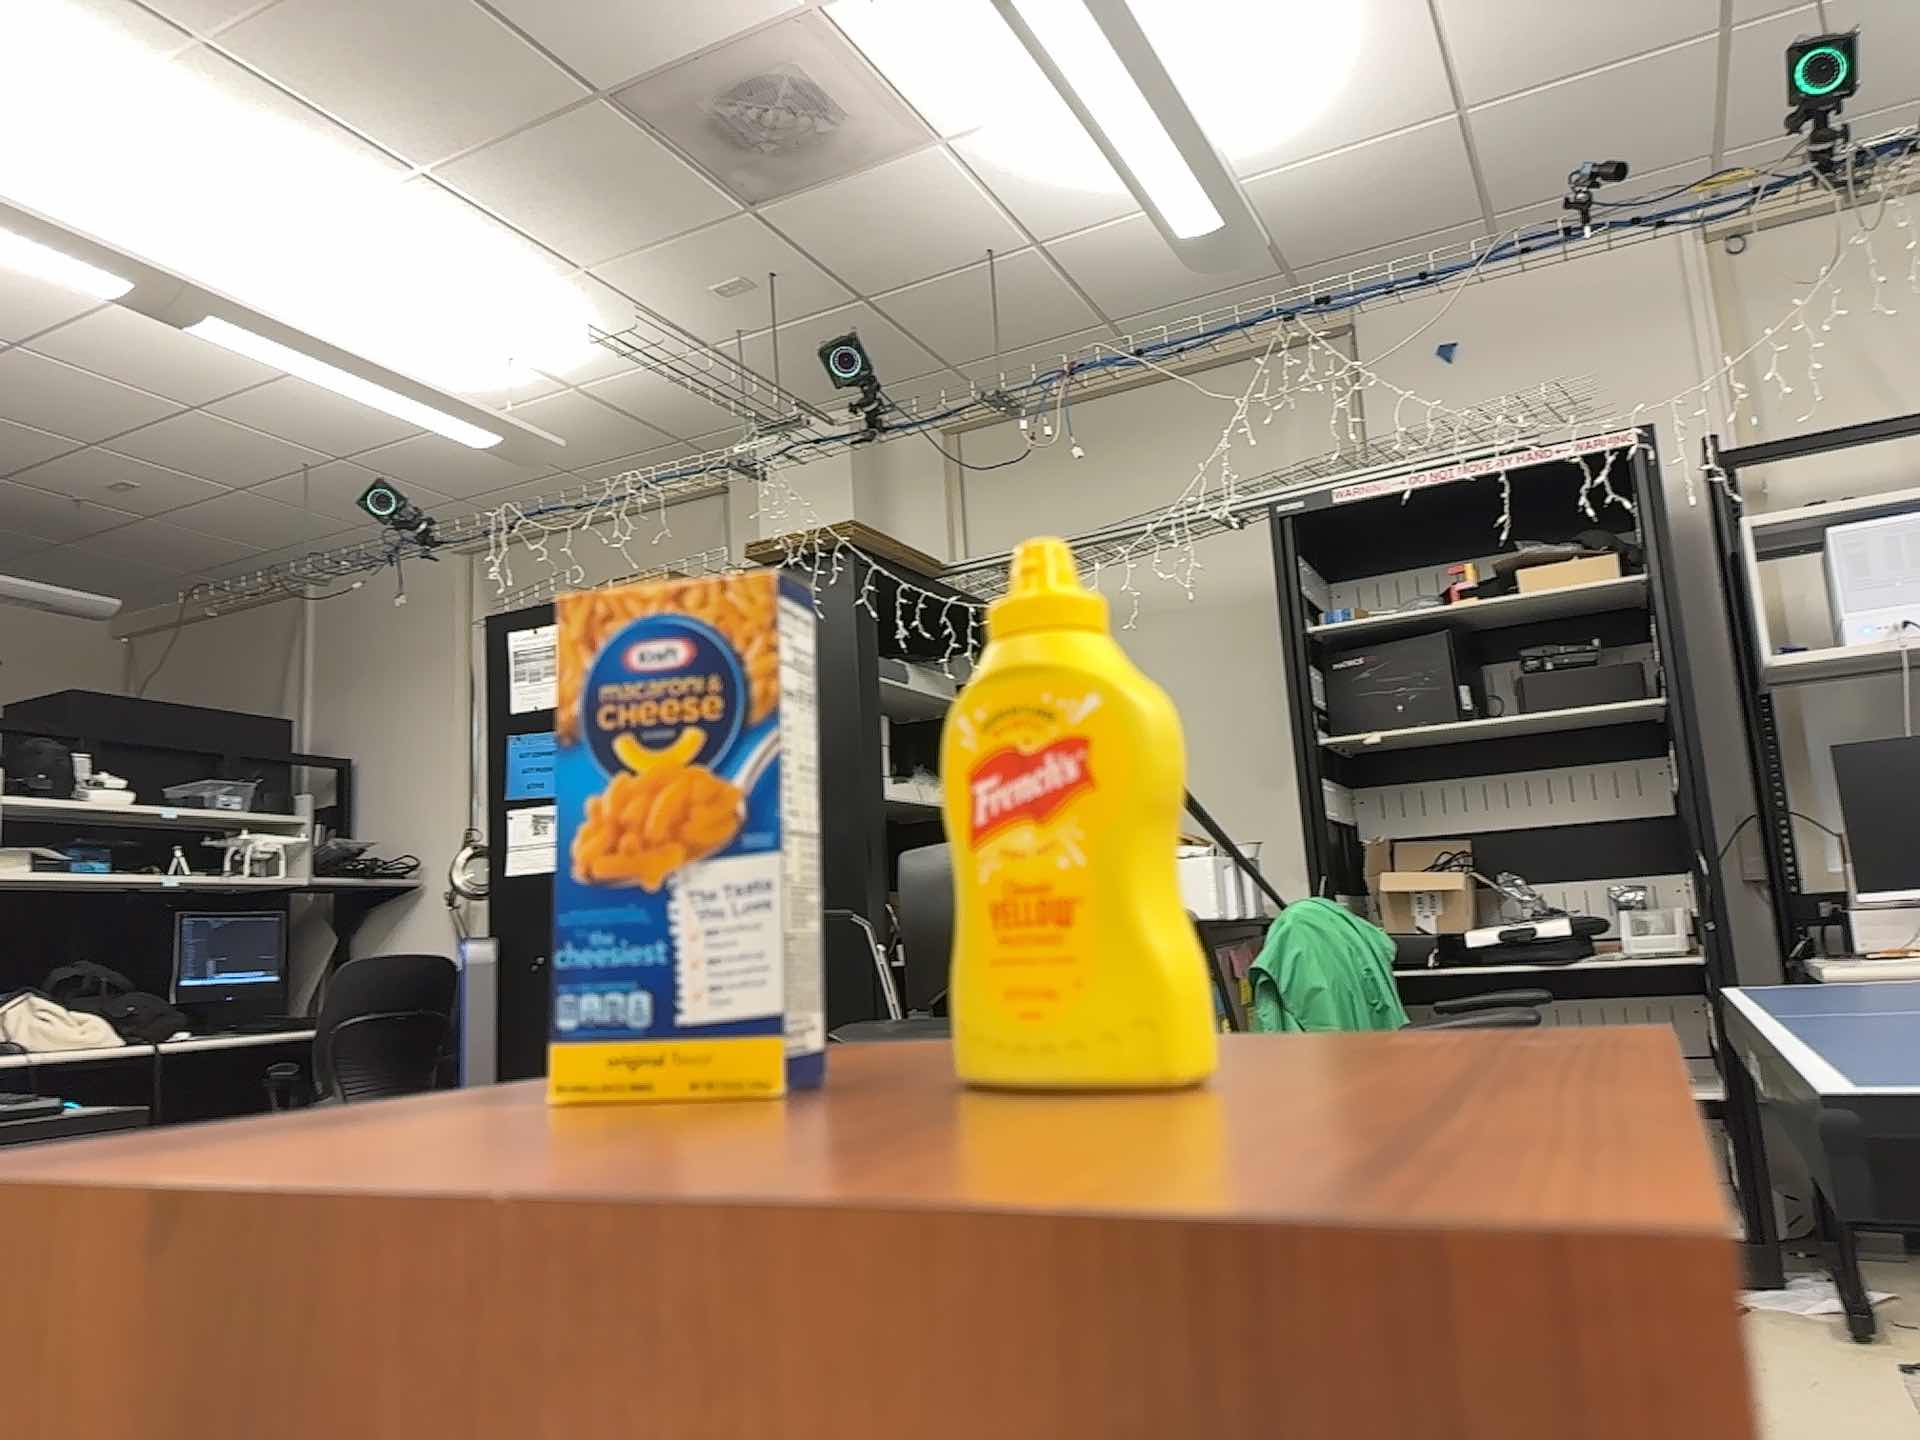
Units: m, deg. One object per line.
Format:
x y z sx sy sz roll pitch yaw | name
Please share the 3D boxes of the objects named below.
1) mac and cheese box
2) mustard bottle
-0.100 0.044 0.488 0.088 0.181 0.035 -7 -10 20 | mac and cheese box
0.033 0.027 0.439 0.092 0.184 0.054 -14 -14 43 | mustard bottle
